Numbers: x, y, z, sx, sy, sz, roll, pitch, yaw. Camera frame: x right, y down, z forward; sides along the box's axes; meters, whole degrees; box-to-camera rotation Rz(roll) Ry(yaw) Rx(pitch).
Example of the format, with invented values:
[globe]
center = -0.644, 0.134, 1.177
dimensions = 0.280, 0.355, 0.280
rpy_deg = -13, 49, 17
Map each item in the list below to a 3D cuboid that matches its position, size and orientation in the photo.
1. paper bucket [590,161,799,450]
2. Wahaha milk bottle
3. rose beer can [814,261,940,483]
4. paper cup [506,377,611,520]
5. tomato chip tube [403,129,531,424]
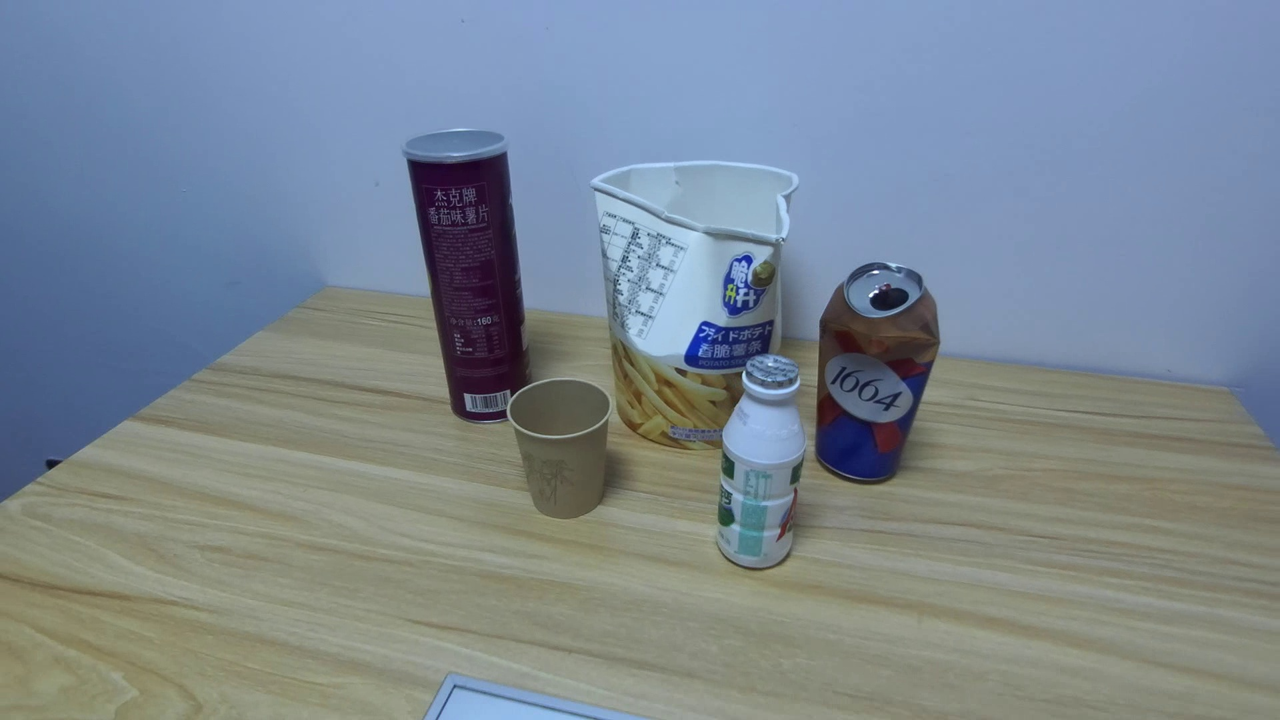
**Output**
[paper bucket]
center = 0.041, -0.046, 0.593
dimensions = 0.162, 0.202, 0.169
rpy_deg = 6, 29, 13
[Wahaha milk bottle]
center = 0.078, 0.066, 0.452
dimensions = 0.053, 0.147, 0.053
rpy_deg = -1, 31, 1
[rose beer can]
center = 0.171, 0.012, 0.523
dimensions = 0.069, 0.168, 0.070
rpy_deg = -3, 34, 1
[paper cup]
center = -0.056, 0.068, 0.517
dimensions = 0.075, 0.082, 0.075
rpy_deg = 0, 30, 1
[tomato chip tube]
center = -0.137, -0.064, 0.591
dimensions = 0.078, 0.234, 0.078
rpy_deg = 0, 32, 0
